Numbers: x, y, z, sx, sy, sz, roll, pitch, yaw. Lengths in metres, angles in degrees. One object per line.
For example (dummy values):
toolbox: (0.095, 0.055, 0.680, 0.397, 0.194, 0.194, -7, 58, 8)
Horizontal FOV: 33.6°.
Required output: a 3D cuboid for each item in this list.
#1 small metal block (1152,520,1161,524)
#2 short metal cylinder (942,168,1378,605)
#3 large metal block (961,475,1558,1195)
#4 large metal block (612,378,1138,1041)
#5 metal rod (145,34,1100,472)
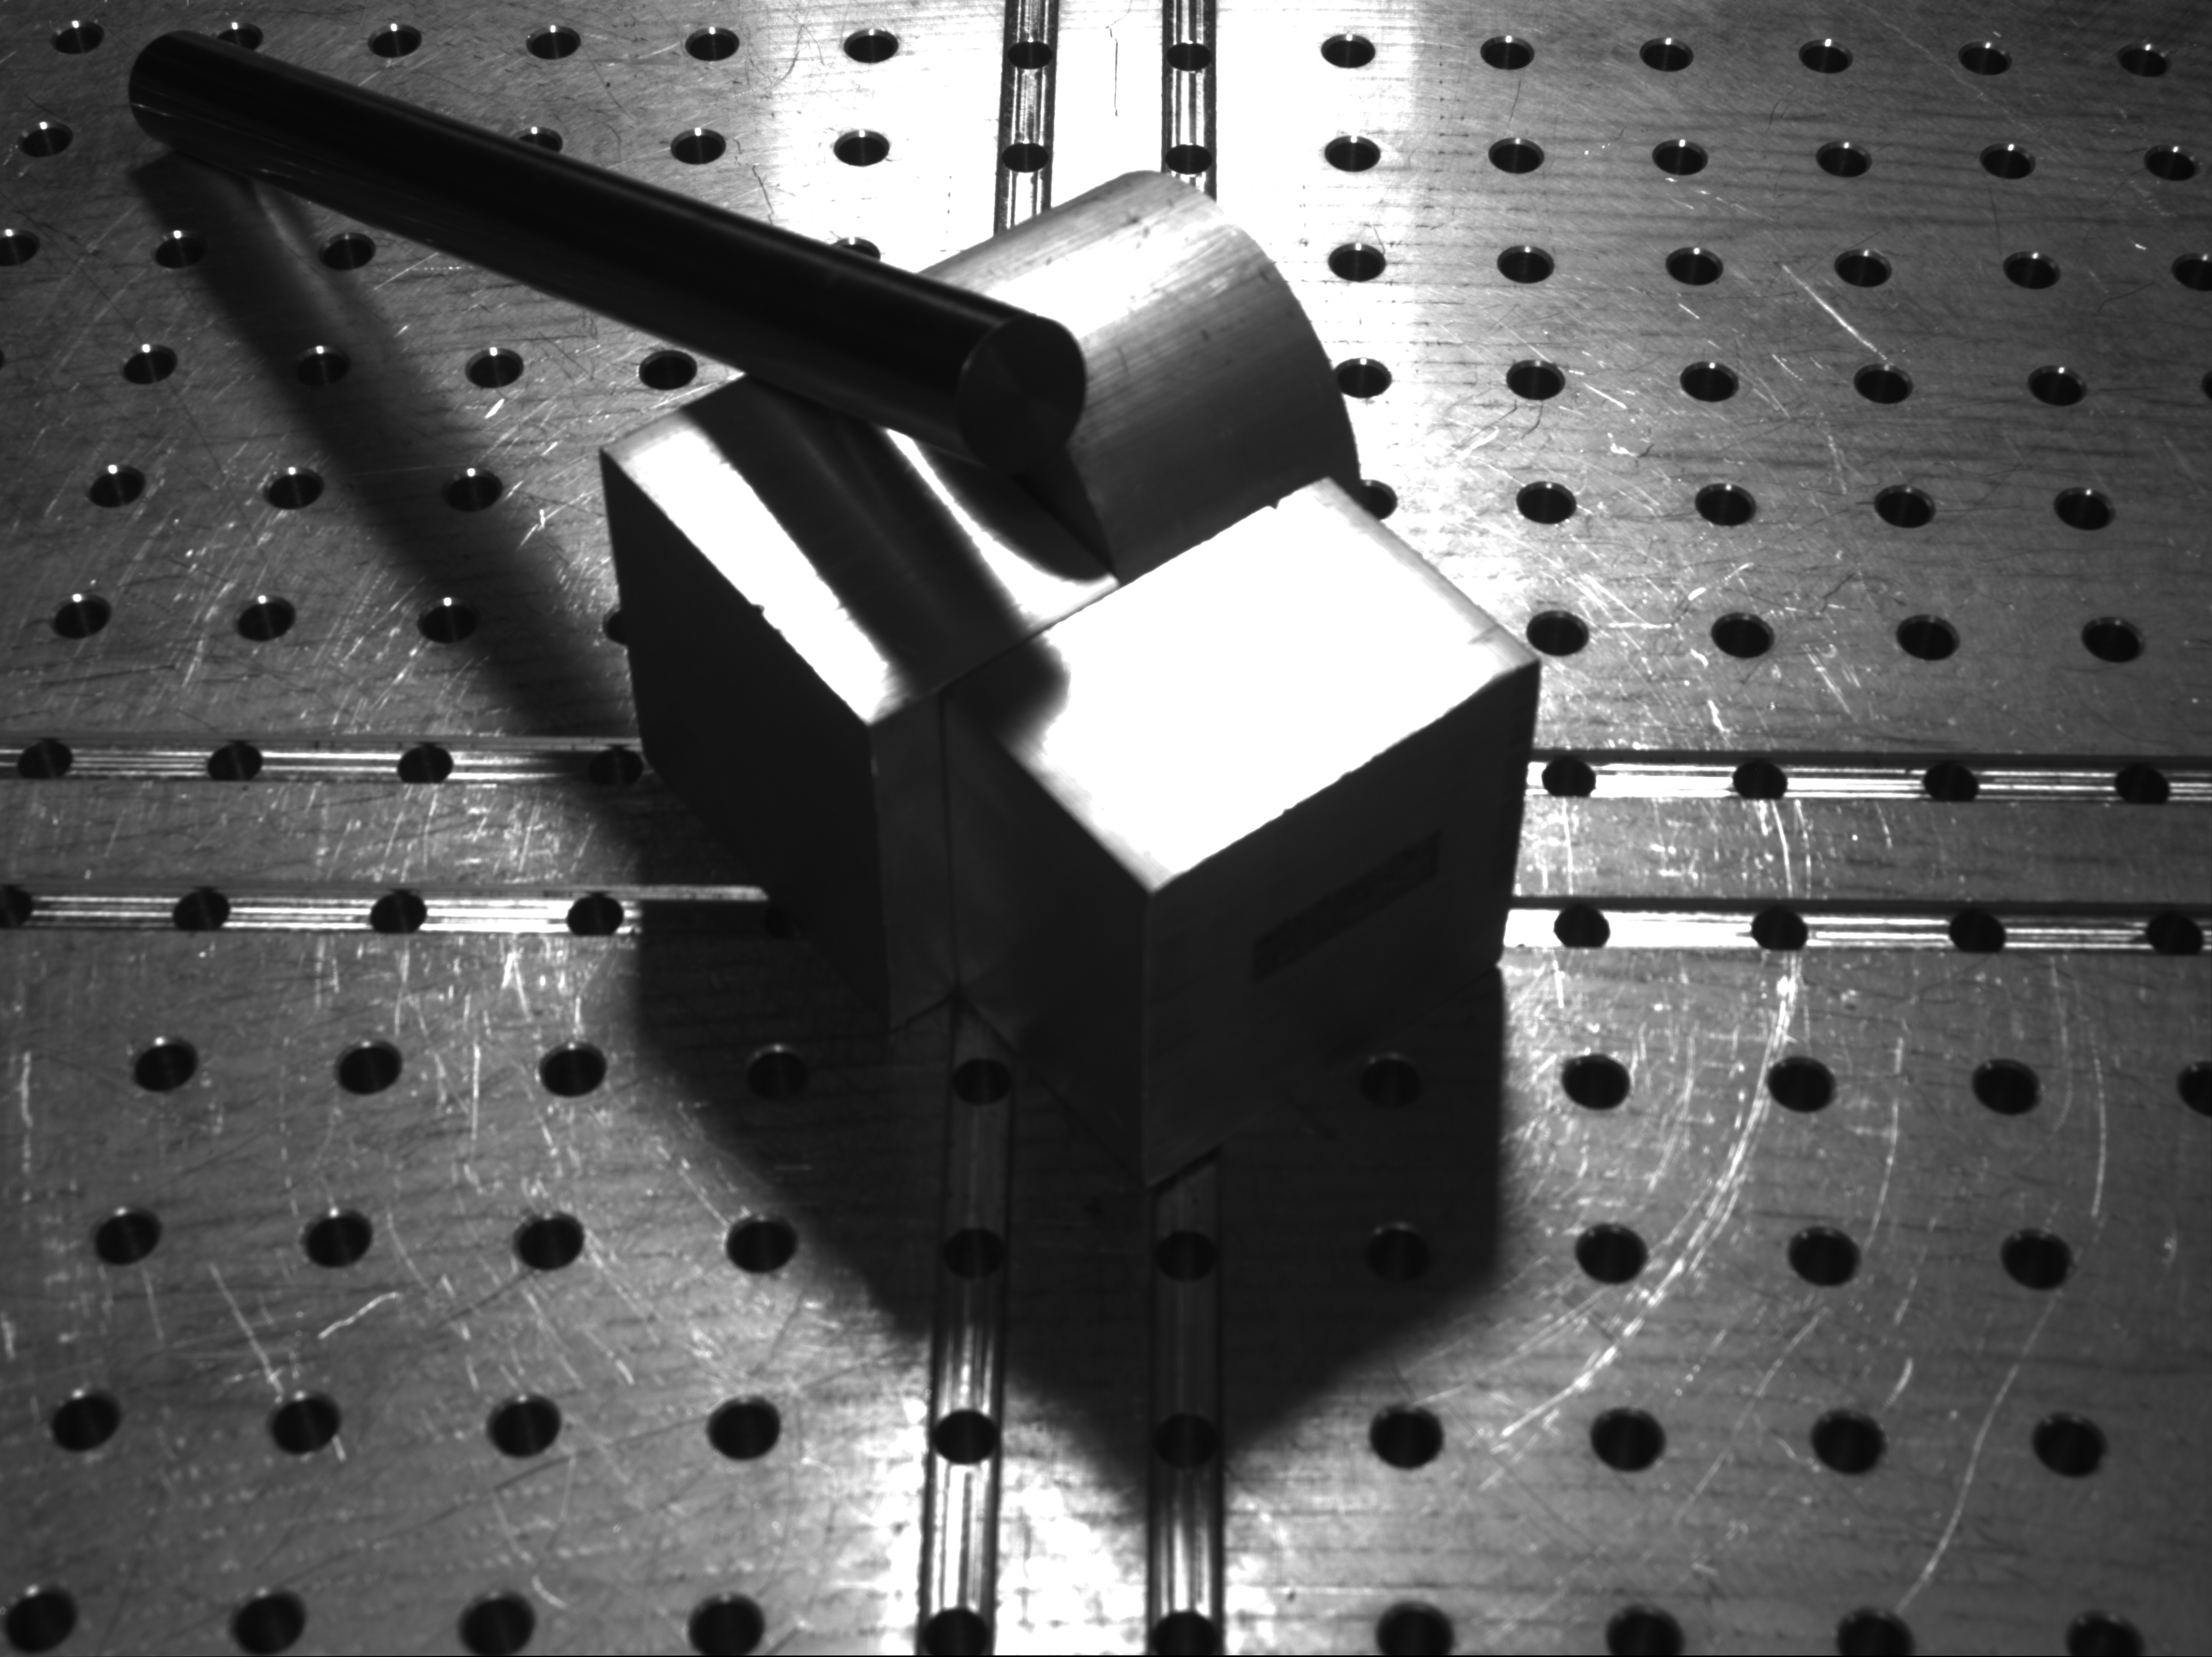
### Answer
small metal block: (0.018, -0.041, 0.680, 0.050, 0.025, 0.050, -34, 58, -25)
short metal cylinder: (0.002, -0.067, 0.632, 0.050, 0.080, 0.080, -29, 56, -22)
large metal block: (0.024, 0.001, 0.606, 0.080, 0.080, 0.050, -30, 56, -23)
large metal block: (-0.038, -0.025, 0.631, 0.050, 0.080, 0.080, -30, 56, -23)
metal rod: (-0.102, -0.112, 0.671, 0.025, 0.025, 0.299, -34, 36, -25)
